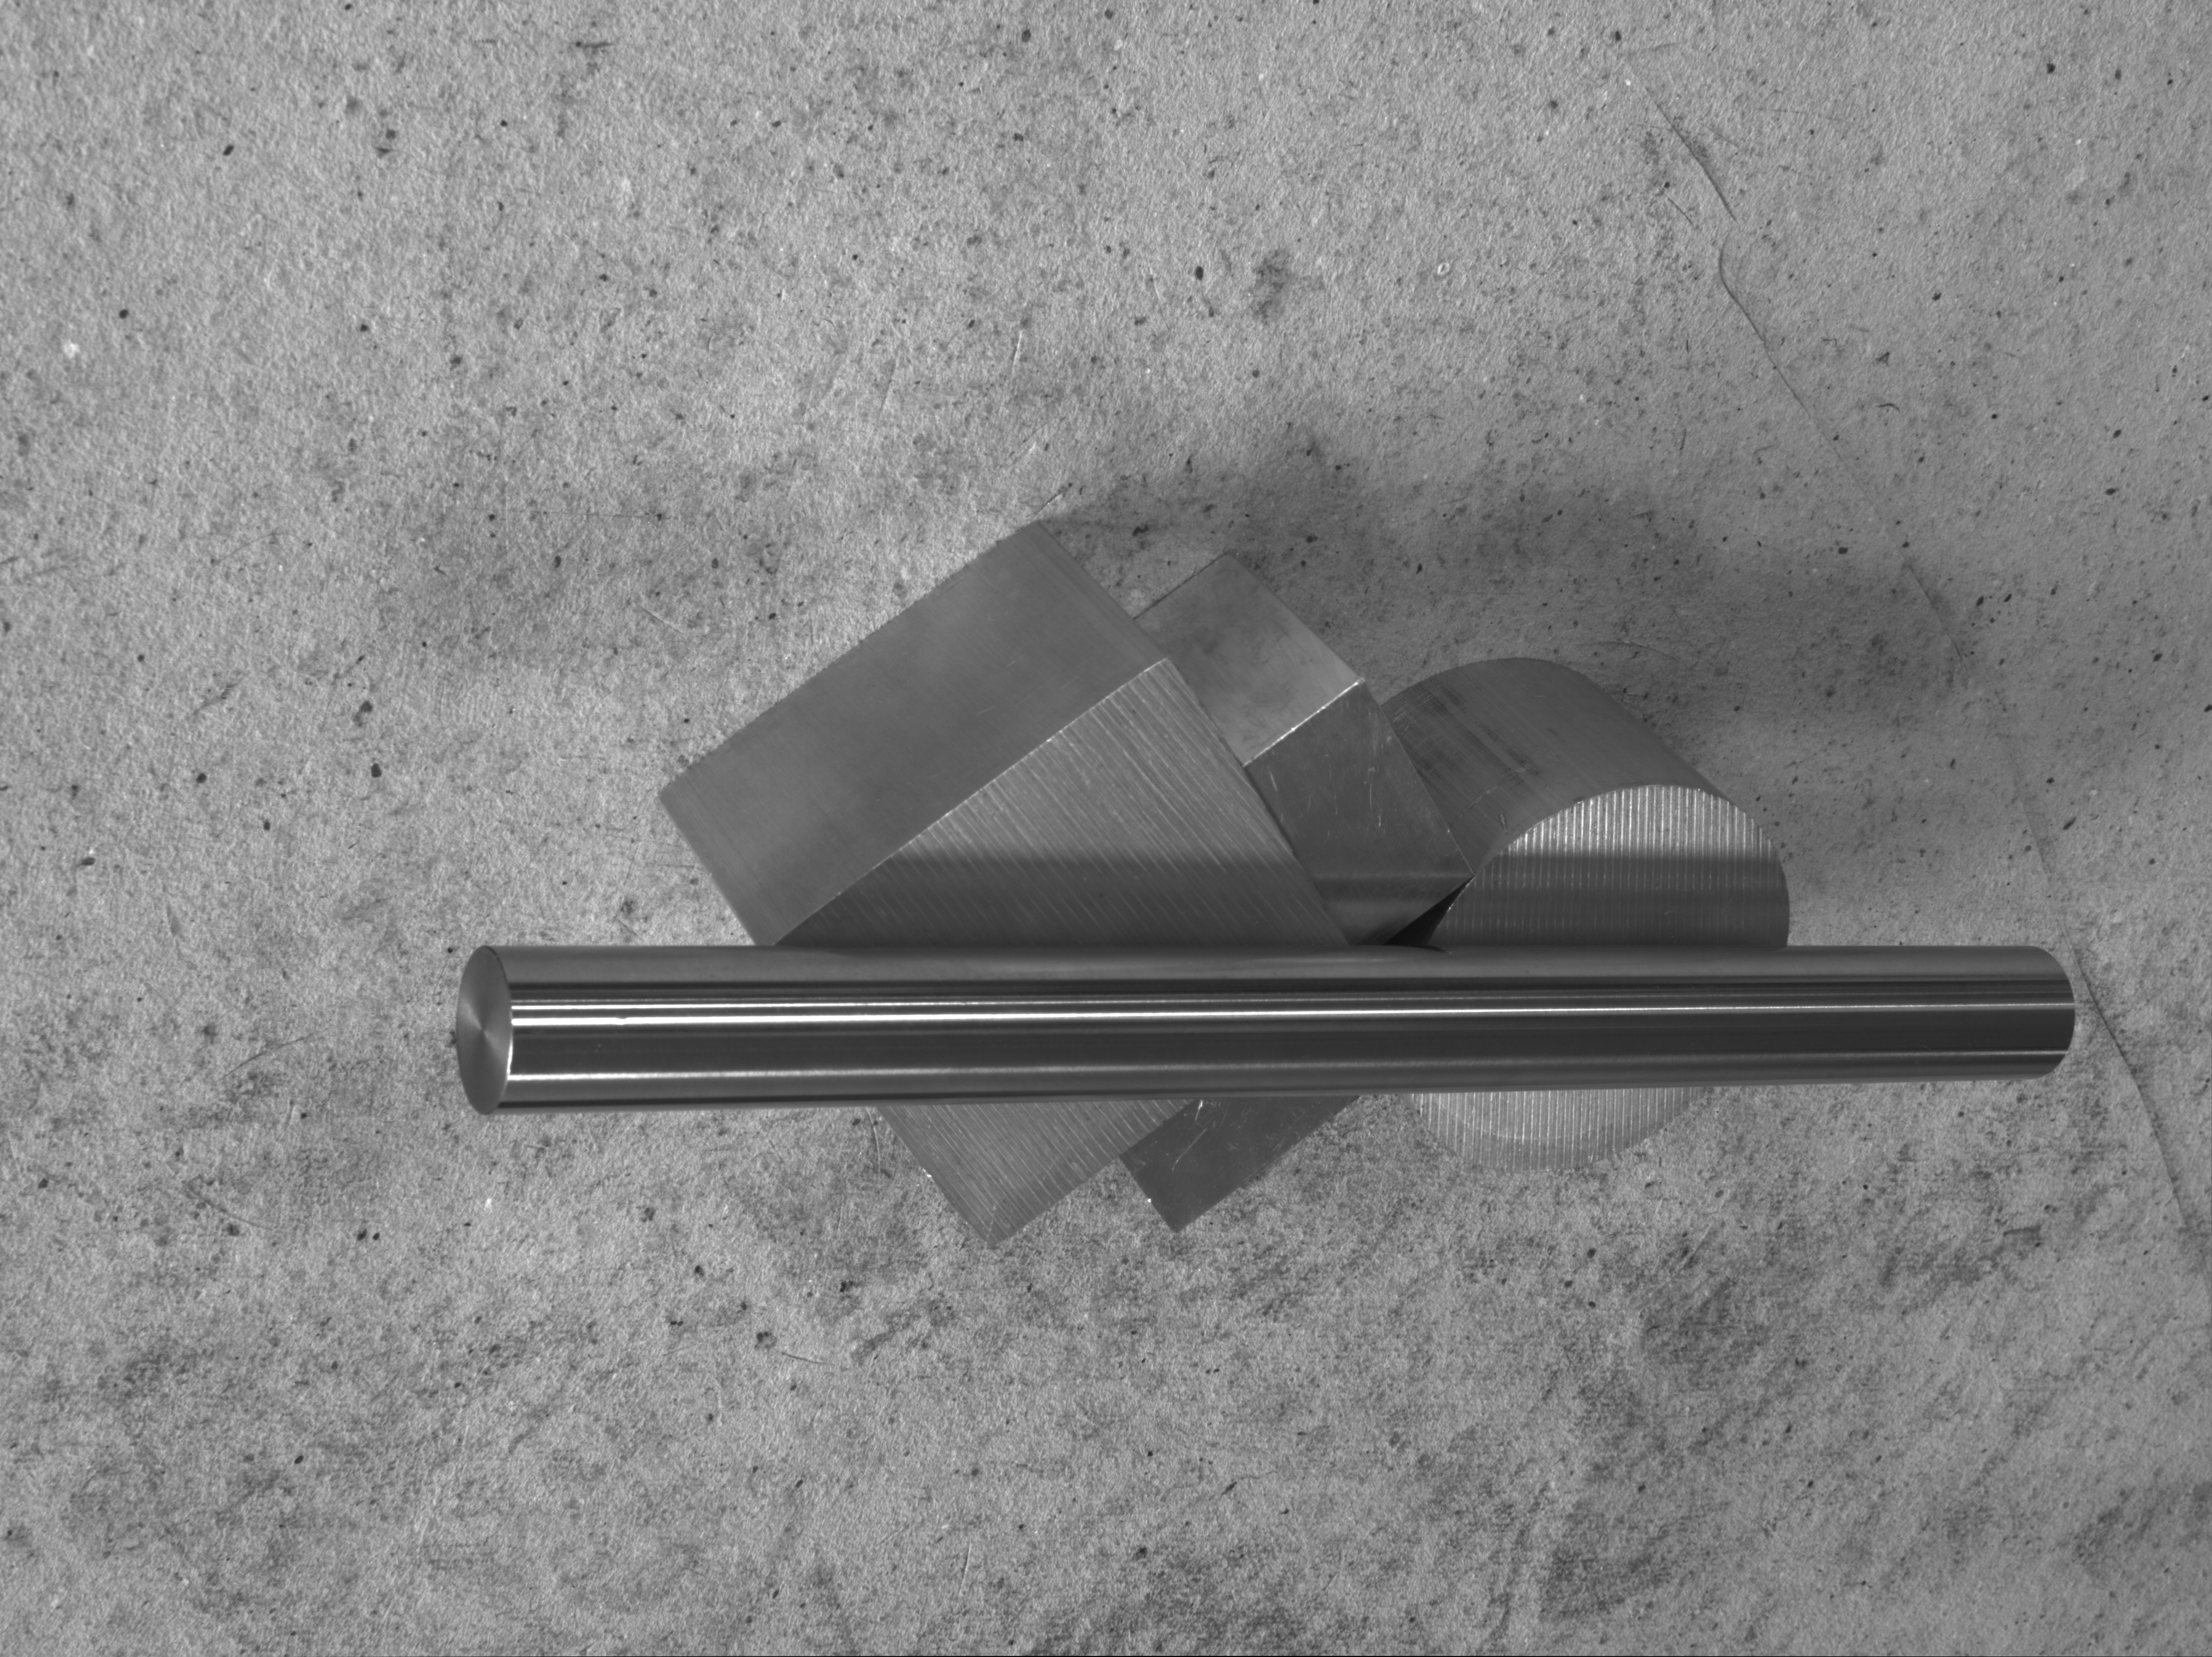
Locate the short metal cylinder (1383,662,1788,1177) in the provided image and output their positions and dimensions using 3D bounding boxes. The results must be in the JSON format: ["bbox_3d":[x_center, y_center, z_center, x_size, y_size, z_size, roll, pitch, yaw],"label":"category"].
[{"bbox_3d":[0.077,0.016,0.672,0.080,0.050,0.080,-13,124,-21],"label":"short metal cylinder"}]

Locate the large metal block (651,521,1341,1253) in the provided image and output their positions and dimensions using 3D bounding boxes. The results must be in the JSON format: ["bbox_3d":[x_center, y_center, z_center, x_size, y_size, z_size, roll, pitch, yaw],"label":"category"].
[{"bbox_3d":[-0.016,0.010,0.618,0.080,0.050,0.080,-36,129,-4],"label":"large metal block"}]

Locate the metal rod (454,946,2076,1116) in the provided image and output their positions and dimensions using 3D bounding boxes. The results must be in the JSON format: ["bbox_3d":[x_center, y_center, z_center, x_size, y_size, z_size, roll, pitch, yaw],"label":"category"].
[{"bbox_3d":[0.040,0.032,0.612,0.301,0.025,0.025,1,118,-29],"label":"metal rod"}]

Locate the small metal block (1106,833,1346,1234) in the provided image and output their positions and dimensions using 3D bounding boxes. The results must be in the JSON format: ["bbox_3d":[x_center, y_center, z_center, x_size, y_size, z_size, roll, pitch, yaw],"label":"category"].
[{"bbox_3d":[0.015,0.036,0.653,0.050,0.050,0.025,-37,129,-4],"label":"small metal block"}]

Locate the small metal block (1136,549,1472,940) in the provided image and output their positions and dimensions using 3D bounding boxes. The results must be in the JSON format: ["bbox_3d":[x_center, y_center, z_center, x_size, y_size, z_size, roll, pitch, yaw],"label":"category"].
[{"bbox_3d":[0.032,-0.013,0.632,0.025,0.050,0.050,-37,129,-4],"label":"small metal block"}]
